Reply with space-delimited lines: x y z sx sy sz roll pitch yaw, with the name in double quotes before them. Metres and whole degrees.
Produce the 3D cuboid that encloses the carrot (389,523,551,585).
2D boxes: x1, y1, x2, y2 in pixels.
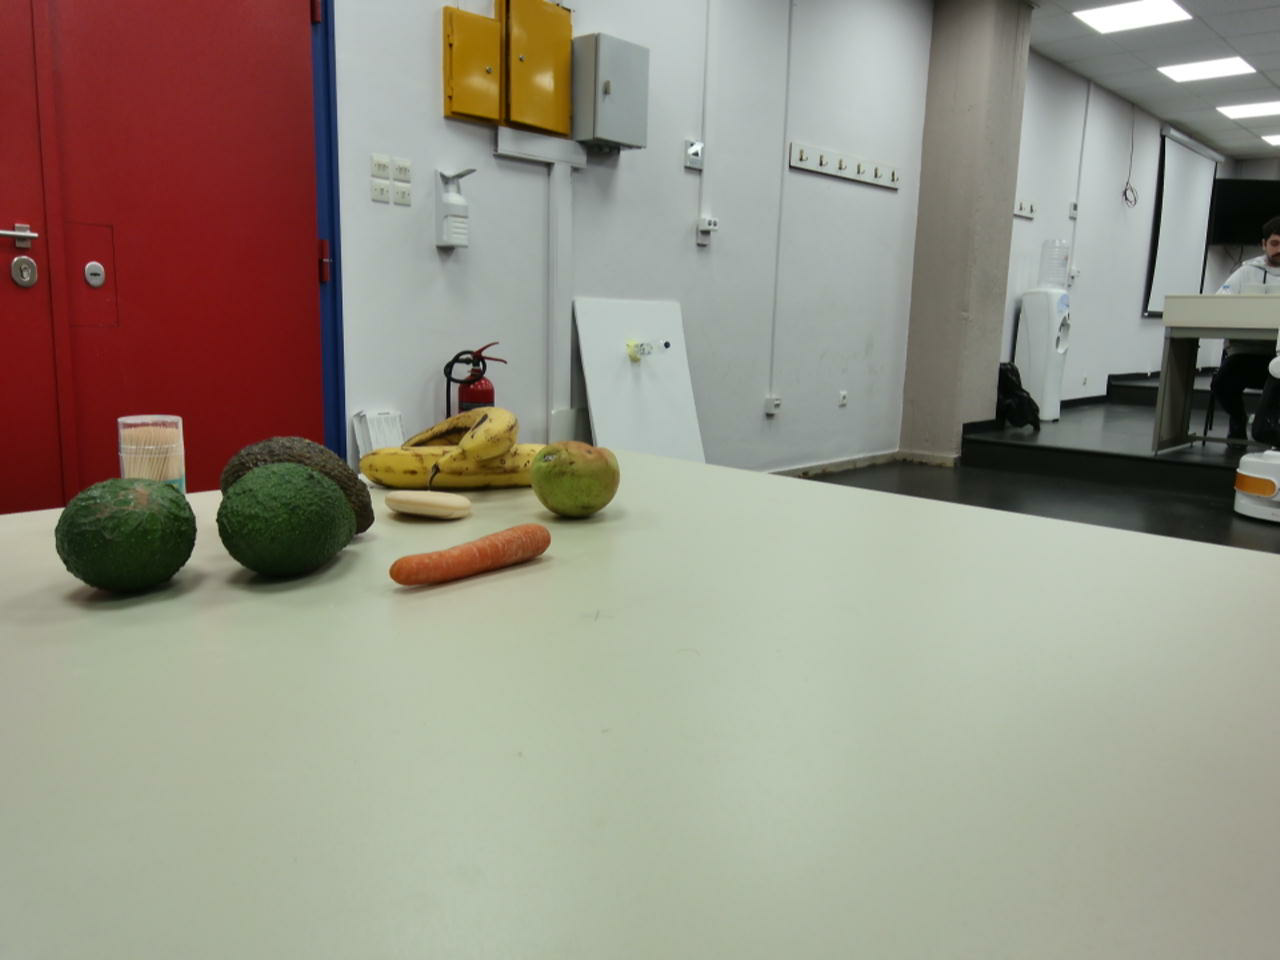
"carrot" -0.100 0.045 0.606 0.024 0.023 0.122 7 11 39
